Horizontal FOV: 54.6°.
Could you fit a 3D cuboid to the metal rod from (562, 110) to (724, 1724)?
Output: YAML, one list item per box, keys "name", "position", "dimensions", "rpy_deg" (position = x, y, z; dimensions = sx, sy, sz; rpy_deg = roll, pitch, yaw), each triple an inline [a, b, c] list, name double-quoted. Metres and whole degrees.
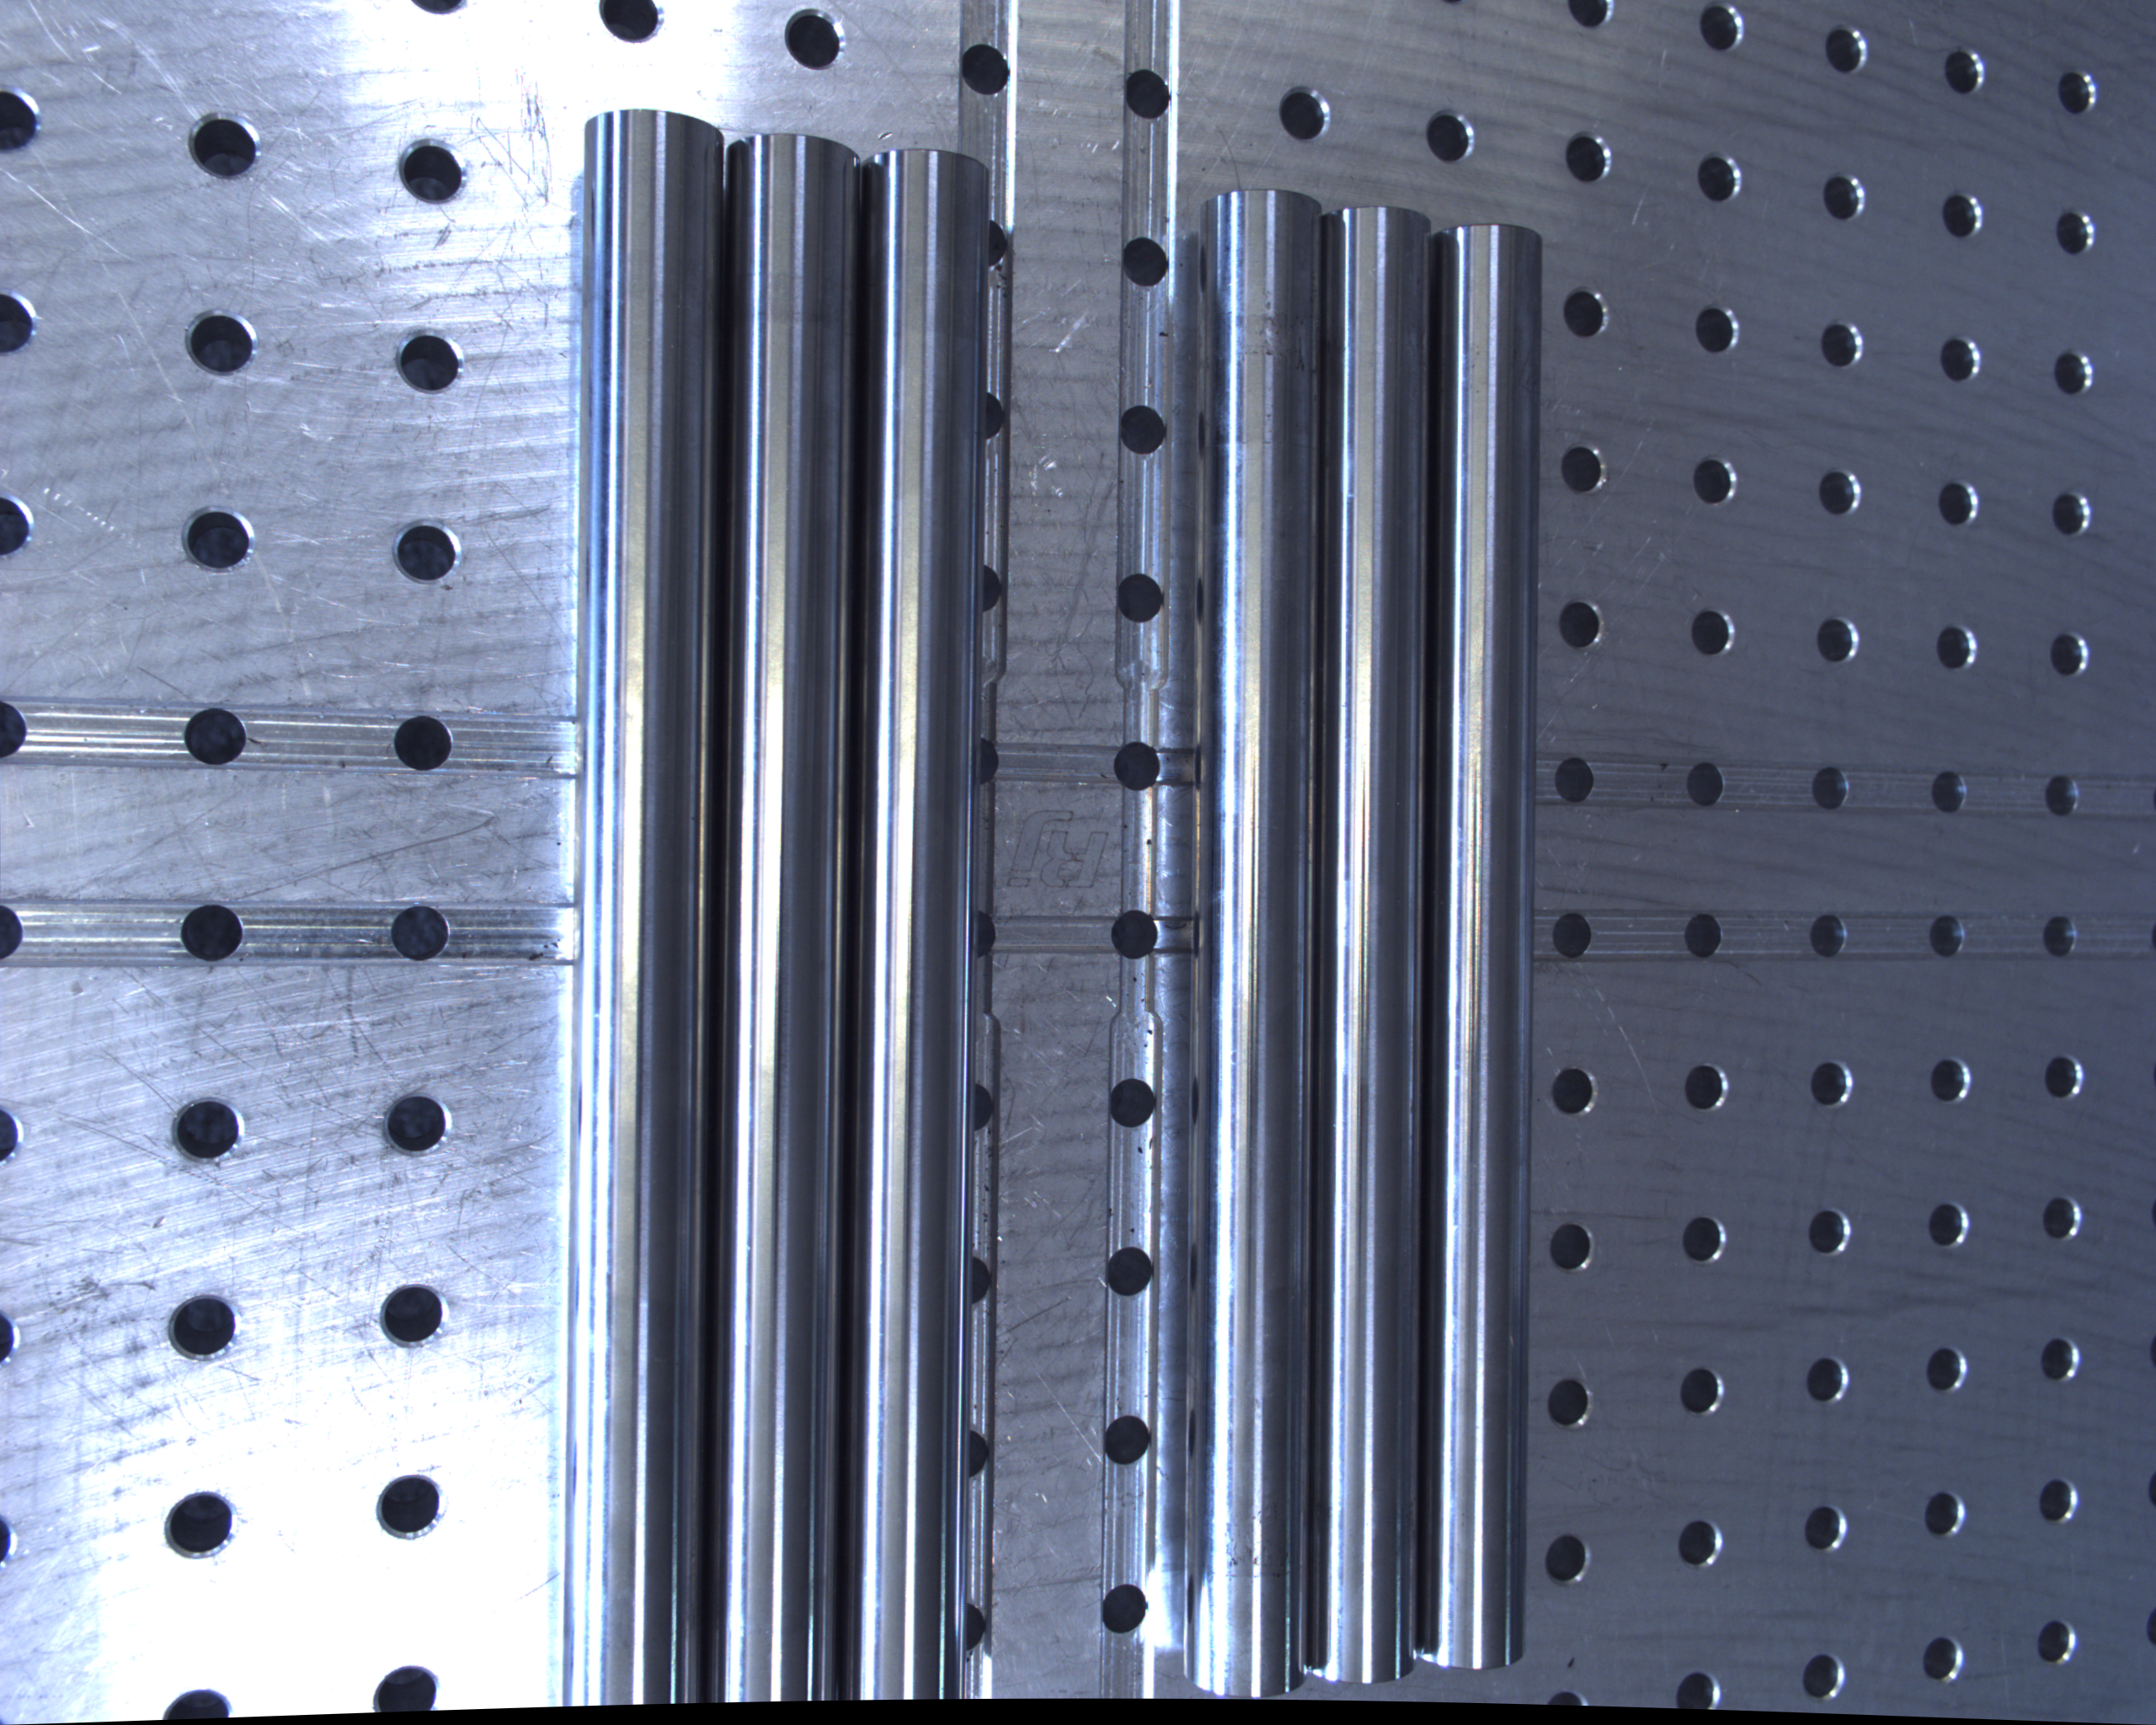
- name: "metal rod"
  position: [-0.080, 0.016, 0.382]
  dimensions: [0.025, 0.025, 0.298]
  rpy_deg: [1, 90, -20]

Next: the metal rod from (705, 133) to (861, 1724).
- name: "metal rod"
  position: [-0.055, 0.017, 0.391]
  dimensions: [0.025, 0.025, 0.298]
  rpy_deg: [1, 90, -20]

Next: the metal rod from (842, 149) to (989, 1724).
- name: "metal rod"
  position: [-0.032, 0.017, 0.400]
  dimensions: [0.025, 0.025, 0.298]
  rpy_deg: [1, 90, -20]

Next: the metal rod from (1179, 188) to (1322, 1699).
- name: "metal rod"
  position: [0.035, 0.016, 0.425]
  dimensions: [0.025, 0.025, 0.298]
  rpy_deg: [1, 90, -20]

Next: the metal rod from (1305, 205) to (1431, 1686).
- name: "metal rod"
  position: [0.059, 0.017, 0.433]
  dimensions: [0.025, 0.025, 0.298]
  rpy_deg: [1, 90, -20]

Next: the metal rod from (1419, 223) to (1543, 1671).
- name: "metal rod"
  position: [0.084, 0.017, 0.443]
  dimensions: [0.025, 0.025, 0.298]
  rpy_deg: [1, 90, -20]
